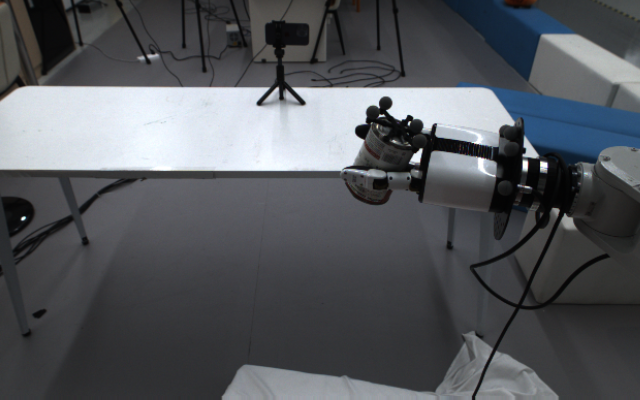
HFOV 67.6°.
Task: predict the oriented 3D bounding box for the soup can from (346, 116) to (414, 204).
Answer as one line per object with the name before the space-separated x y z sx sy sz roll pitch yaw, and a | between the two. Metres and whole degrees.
soup can | 0.083 -0.052 0.655 0.067 0.101 0.067 14 39 -12
